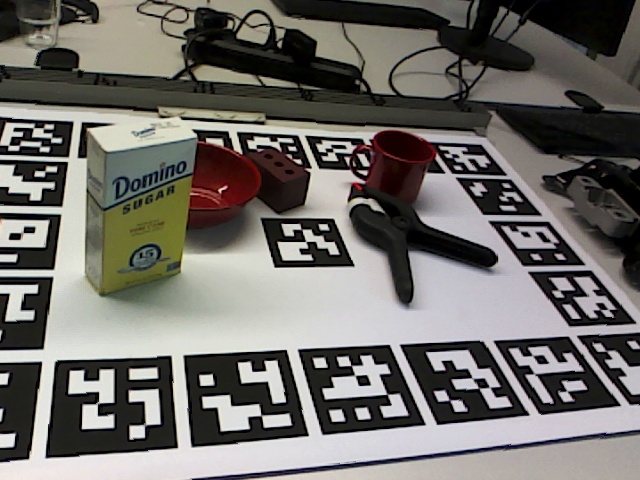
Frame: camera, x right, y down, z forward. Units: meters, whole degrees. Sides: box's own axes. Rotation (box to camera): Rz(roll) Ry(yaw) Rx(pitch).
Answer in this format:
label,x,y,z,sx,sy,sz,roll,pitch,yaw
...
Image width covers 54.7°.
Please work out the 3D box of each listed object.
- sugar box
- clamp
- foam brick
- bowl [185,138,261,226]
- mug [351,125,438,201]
label,x,y,z,sx,sy,sz,roll,pitch,yaw
sugar box,-0.185,-0.027,0.631,0.092,0.176,0.045,-19,50,-37
clamp,0.100,-0.017,0.811,0.164,0.036,0.204,-20,49,-33
foam brick,-0.057,-0.078,0.848,0.052,0.051,0.078,-23,51,-37
bowl,-0.159,-0.066,0.788,0.161,0.055,0.162,9,37,-8
mug,0.103,-0.113,0.904,0.117,0.081,0.093,18,37,0
